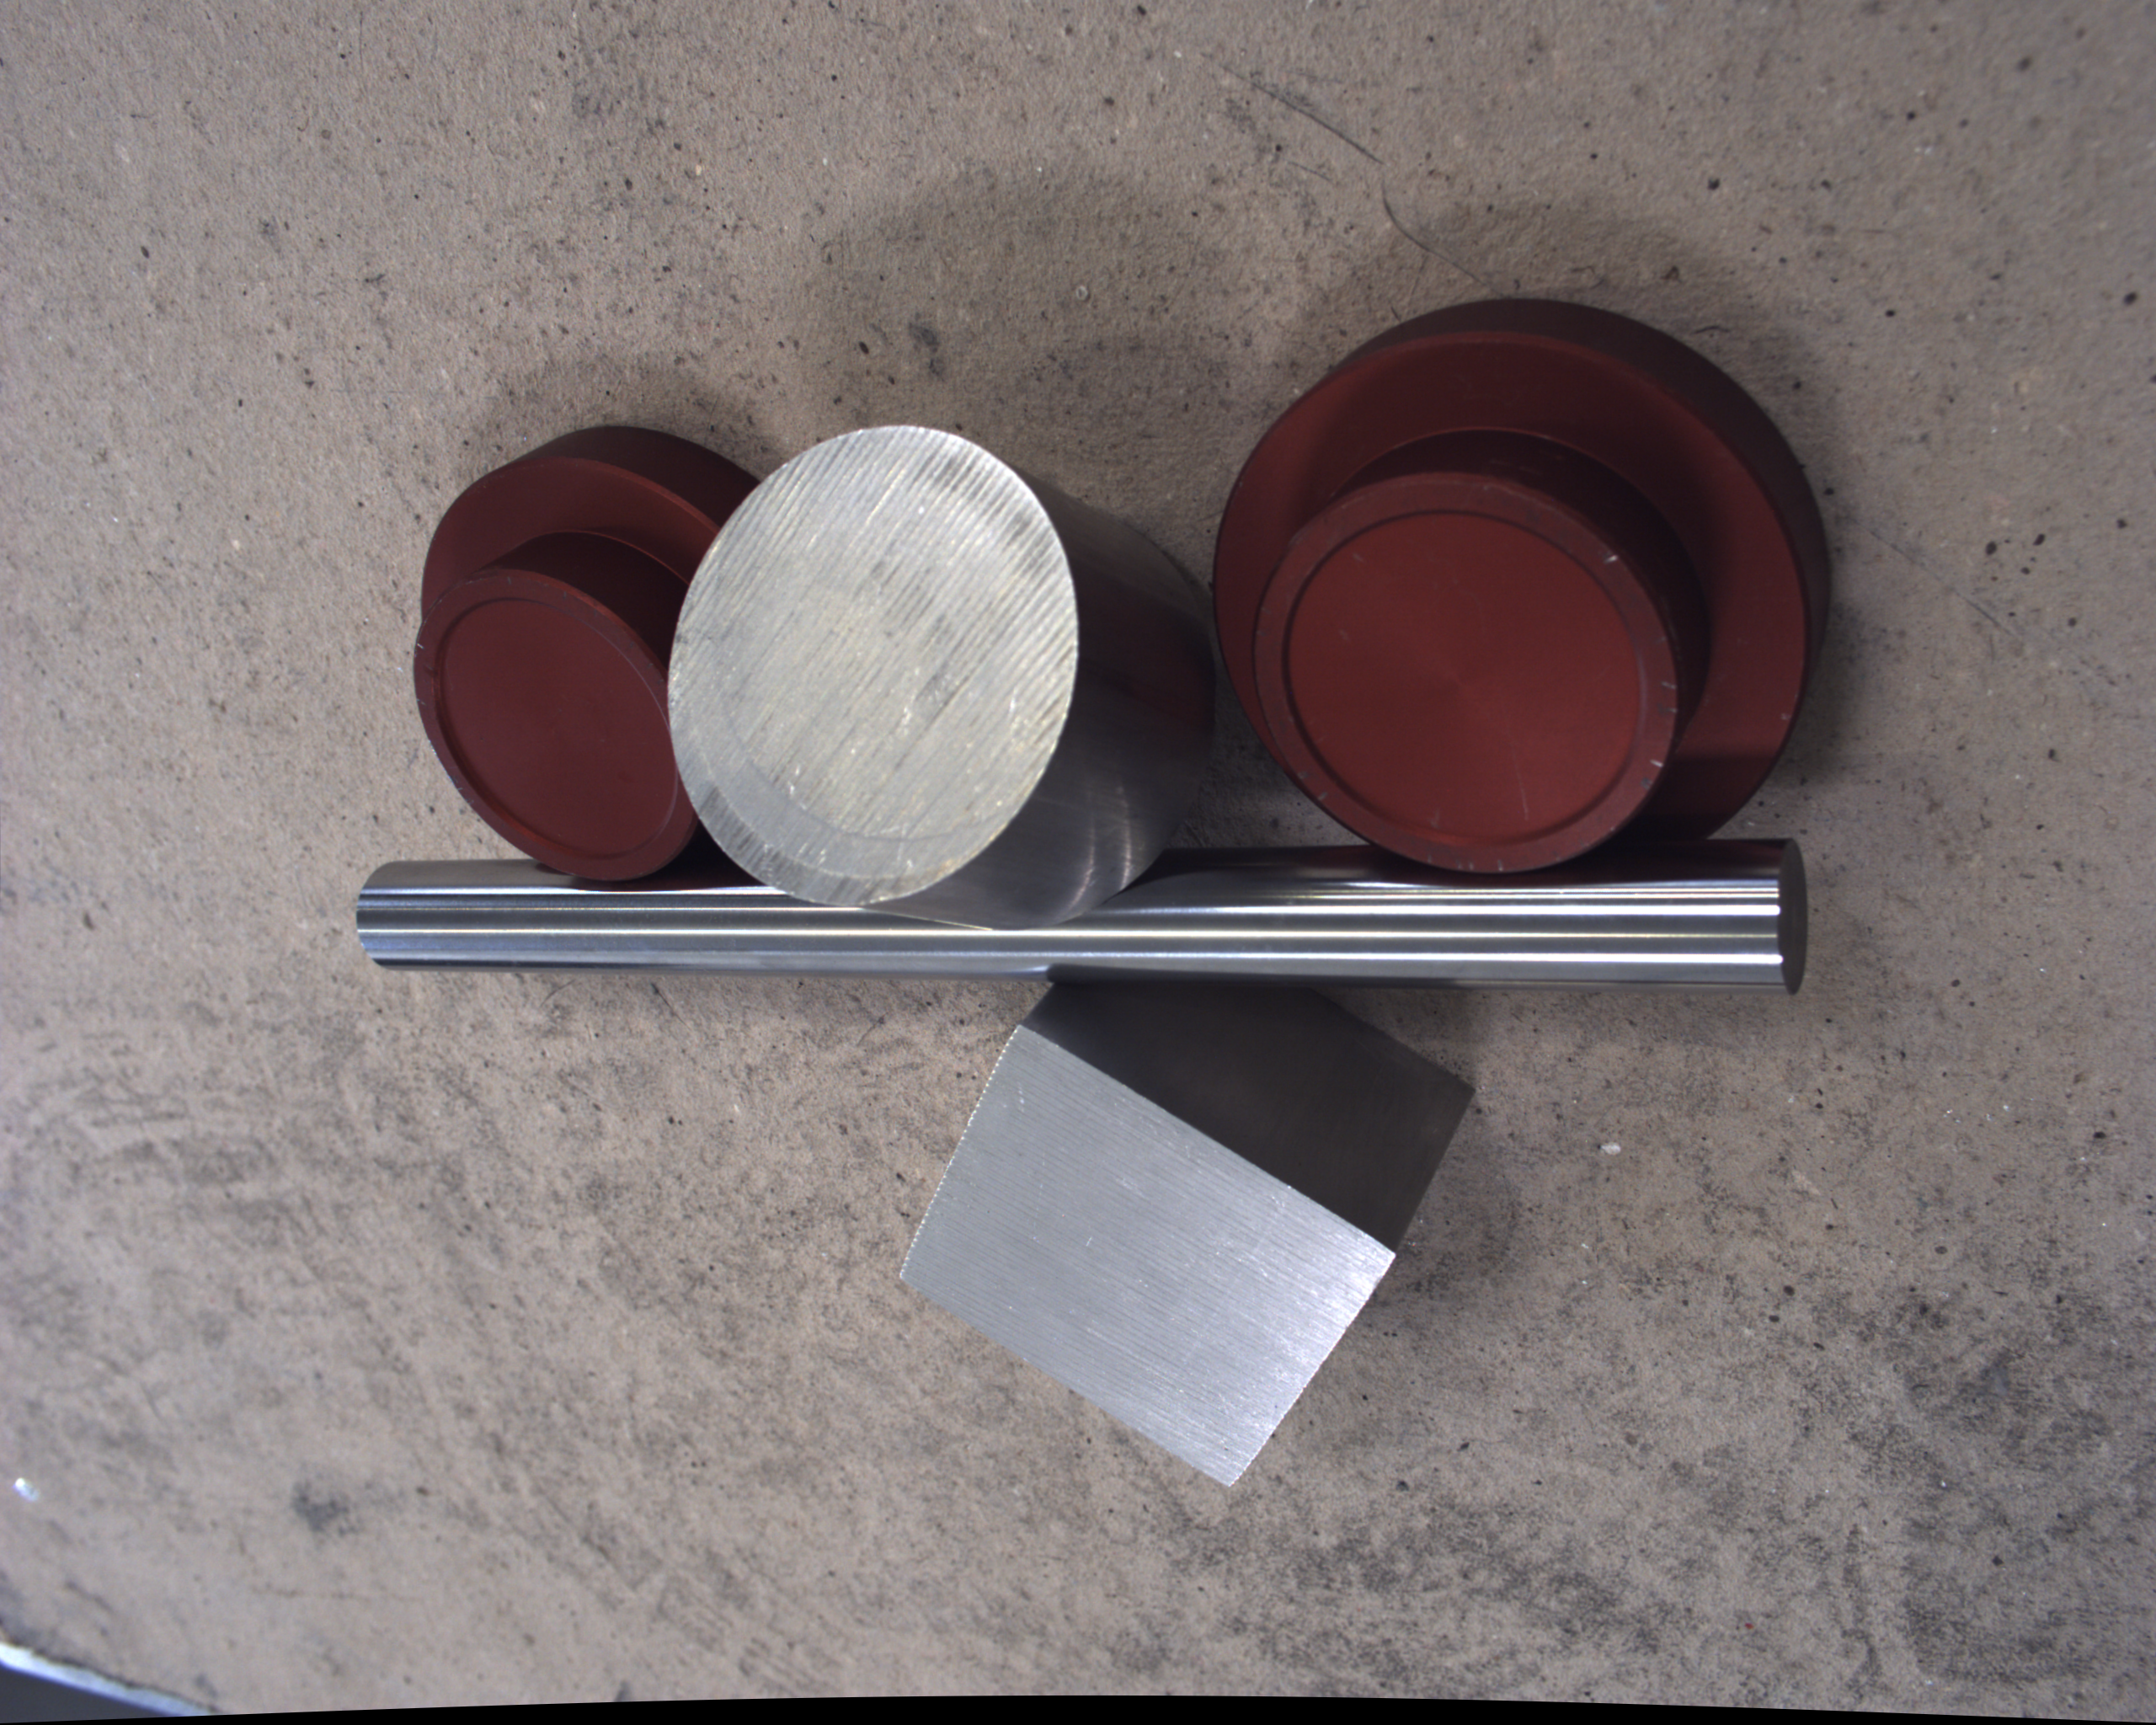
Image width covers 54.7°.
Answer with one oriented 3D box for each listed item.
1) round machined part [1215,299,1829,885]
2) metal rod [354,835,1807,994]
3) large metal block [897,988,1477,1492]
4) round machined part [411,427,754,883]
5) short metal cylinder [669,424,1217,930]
[{"bbox_3d":[0.068,-0.037,0.339,0.098,0.042,0.097,13,124,21],"label":"round machined part"},{"bbox_3d":[-0.020,0.010,0.398,0.300,0.025,0.025,-1,118,28],"label":"metal rod"},{"bbox_3d":[0.020,0.066,0.419,0.080,0.050,0.079,31,128,8],"label":"large metal block"},{"bbox_3d":[-0.095,-0.035,0.425,0.098,0.042,0.097,13,124,21],"label":"round machined part"},{"bbox_3d":[-0.023,-0.030,0.362,0.080,0.050,0.080,-4,81,28],"label":"short metal cylinder"}]
